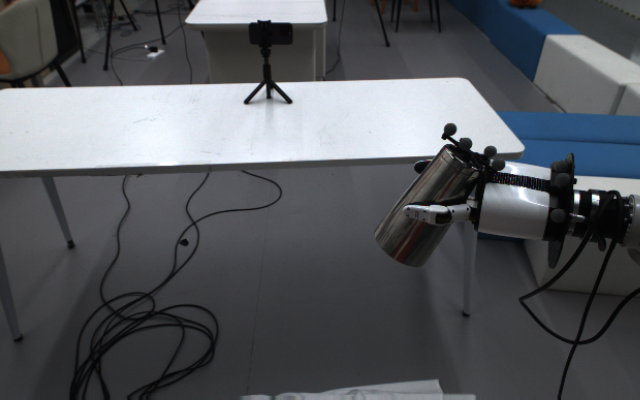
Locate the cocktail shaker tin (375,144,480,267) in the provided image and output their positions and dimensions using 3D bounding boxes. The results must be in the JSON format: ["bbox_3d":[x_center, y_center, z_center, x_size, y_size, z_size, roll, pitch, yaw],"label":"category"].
[{"bbox_3d":[0.163,0.001,0.710,0.093,0.170,0.093,25,29,-15],"label":"cocktail shaker tin"}]
